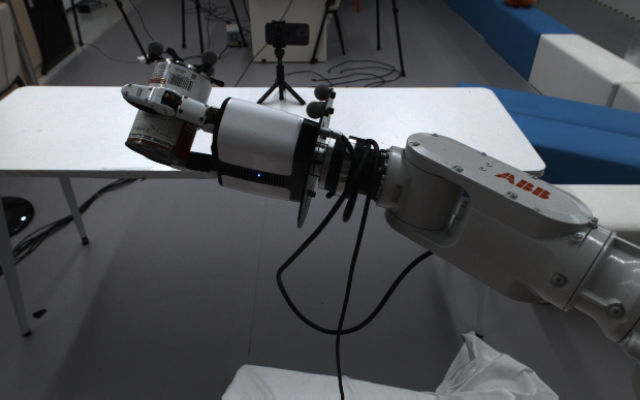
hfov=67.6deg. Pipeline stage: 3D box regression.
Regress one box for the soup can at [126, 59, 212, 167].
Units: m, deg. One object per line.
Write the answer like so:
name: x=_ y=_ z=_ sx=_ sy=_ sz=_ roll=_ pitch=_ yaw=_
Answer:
soup can: x=-0.168 y=-0.097 z=0.547 sx=0.067 sy=0.067 sz=0.101 roll=13 pitch=78 yaw=15
